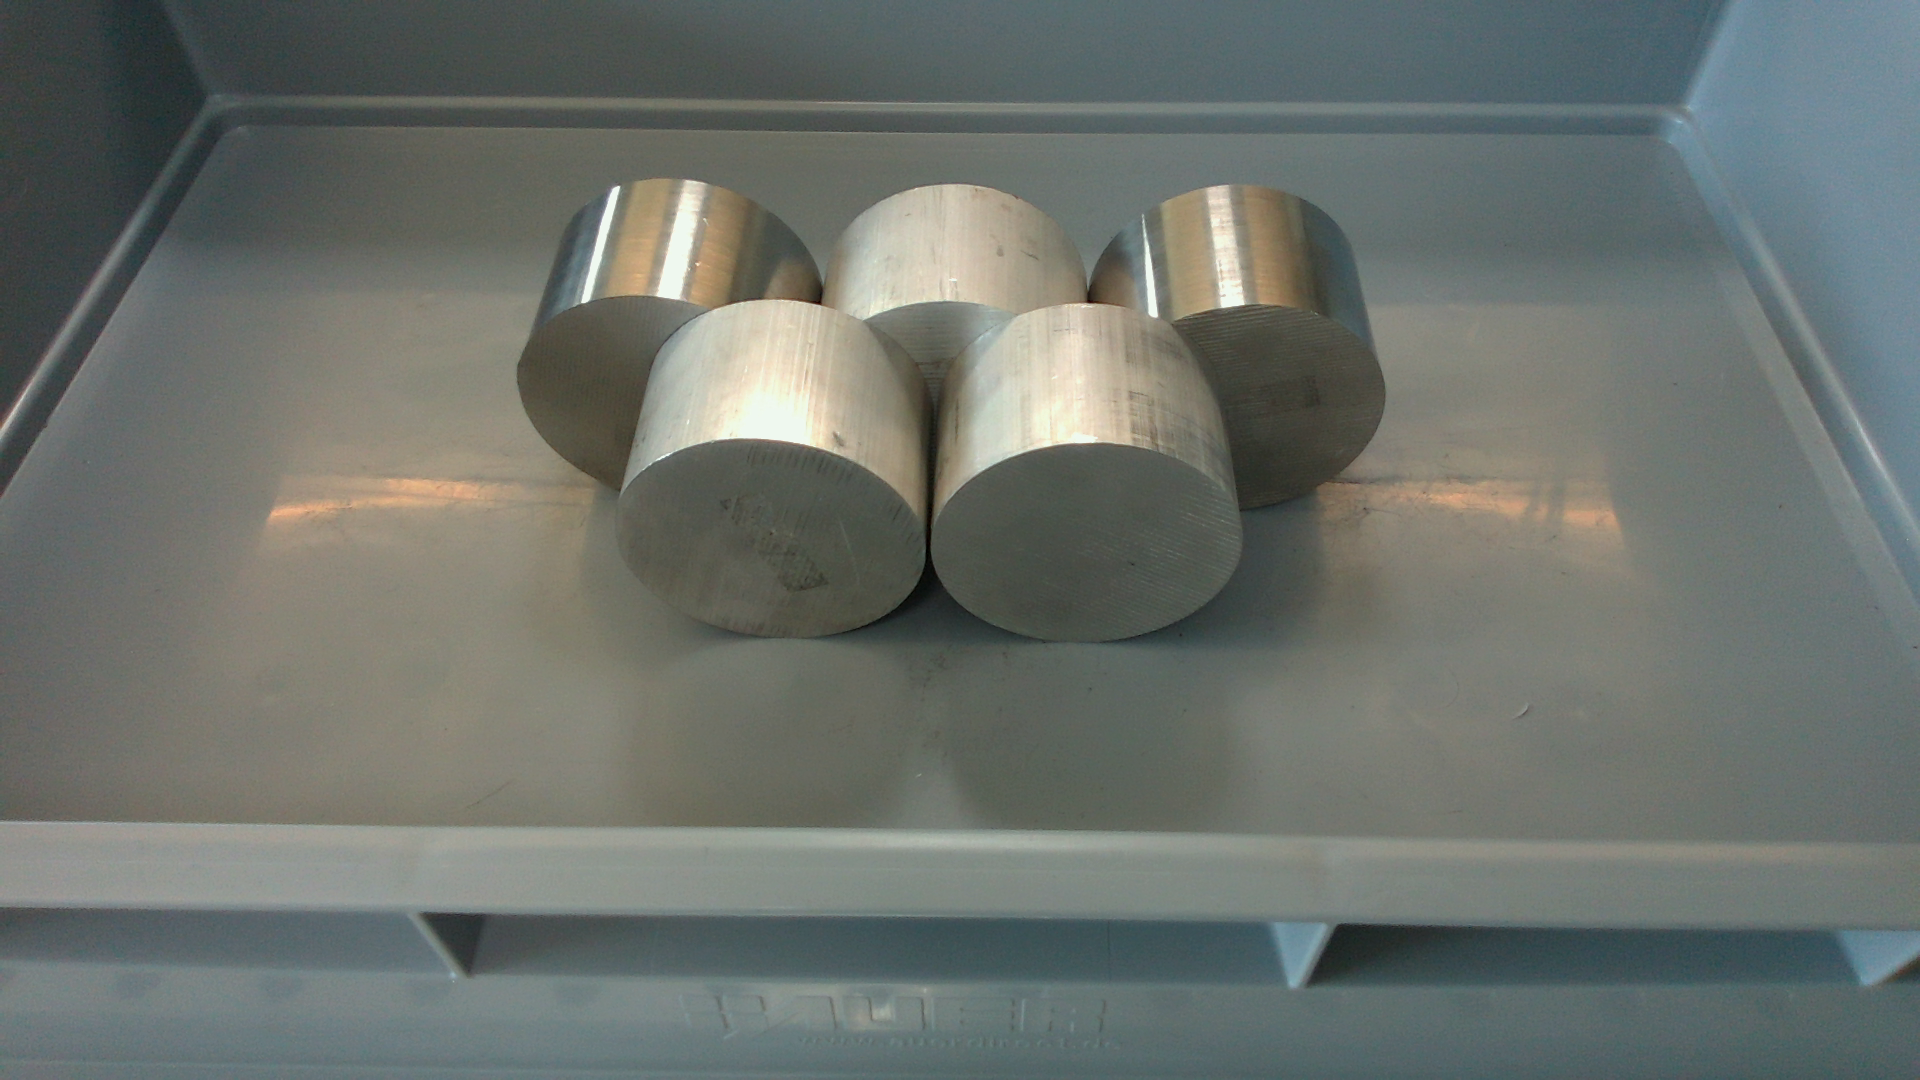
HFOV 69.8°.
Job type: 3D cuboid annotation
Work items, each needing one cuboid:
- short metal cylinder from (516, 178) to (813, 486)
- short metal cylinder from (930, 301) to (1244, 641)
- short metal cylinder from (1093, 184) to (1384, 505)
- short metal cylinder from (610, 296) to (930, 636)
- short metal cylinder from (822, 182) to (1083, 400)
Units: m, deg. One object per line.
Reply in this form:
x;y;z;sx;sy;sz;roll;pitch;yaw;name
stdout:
-0.083;-0.057;0.402;0.080;0.080;0.050;1;50;1;short metal cylinder
0.033;-0.017;0.368;0.080;0.080;0.050;1;50;1;short metal cylinder
0.078;-0.055;0.400;0.080;0.080;0.050;1;50;1;short metal cylinder
-0.049;-0.018;0.369;0.080;0.080;0.050;1;50;1;short metal cylinder
-0.002;-0.056;0.401;0.080;0.080;0.050;1;50;1;short metal cylinder
